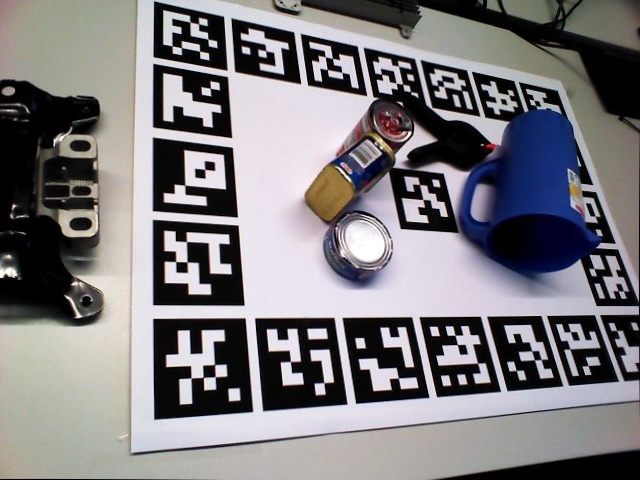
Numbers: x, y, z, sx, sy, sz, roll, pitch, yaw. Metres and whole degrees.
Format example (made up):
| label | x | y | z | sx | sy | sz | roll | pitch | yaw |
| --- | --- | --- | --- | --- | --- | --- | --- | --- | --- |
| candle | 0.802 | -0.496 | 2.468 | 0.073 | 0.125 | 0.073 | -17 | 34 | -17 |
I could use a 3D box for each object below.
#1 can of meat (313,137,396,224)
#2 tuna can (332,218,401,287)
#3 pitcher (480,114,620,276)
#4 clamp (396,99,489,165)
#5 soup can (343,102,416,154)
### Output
| label | x | y | z | sx | sy | sz | roll | pitch | yaw |
| --- | --- | --- | --- | --- | --- | --- | --- | --- | --- |
| can of meat | 0.047 | -0.073 | 0.663 | 0.083 | 0.102 | 0.058 | -37 | 87 | -29 |
| tuna can | 0.060 | 0.017 | 0.671 | 0.085 | 0.034 | 0.085 | 9 | 65 | -21 |
| pitcher | 0.340 | -0.079 | 0.781 | 0.189 | 0.134 | 0.241 | 11 | 53 | 5 |
| clamp | 0.200 | -0.161 | 0.829 | 0.164 | 0.037 | 0.121 | 6 | 60 | -26 |
| soup can | 0.080 | -0.131 | 0.711 | 0.068 | 0.103 | 0.067 | 8 | 66 | -19 |
